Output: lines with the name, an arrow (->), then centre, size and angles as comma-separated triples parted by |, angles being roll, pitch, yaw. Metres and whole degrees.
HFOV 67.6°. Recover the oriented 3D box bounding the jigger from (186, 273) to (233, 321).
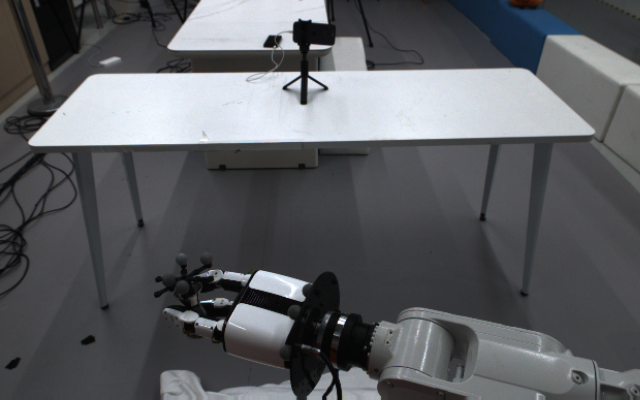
jigger -> -0.171, 0.150, 0.678 | 0.043, 0.071, 0.043 | -10, 24, 4
